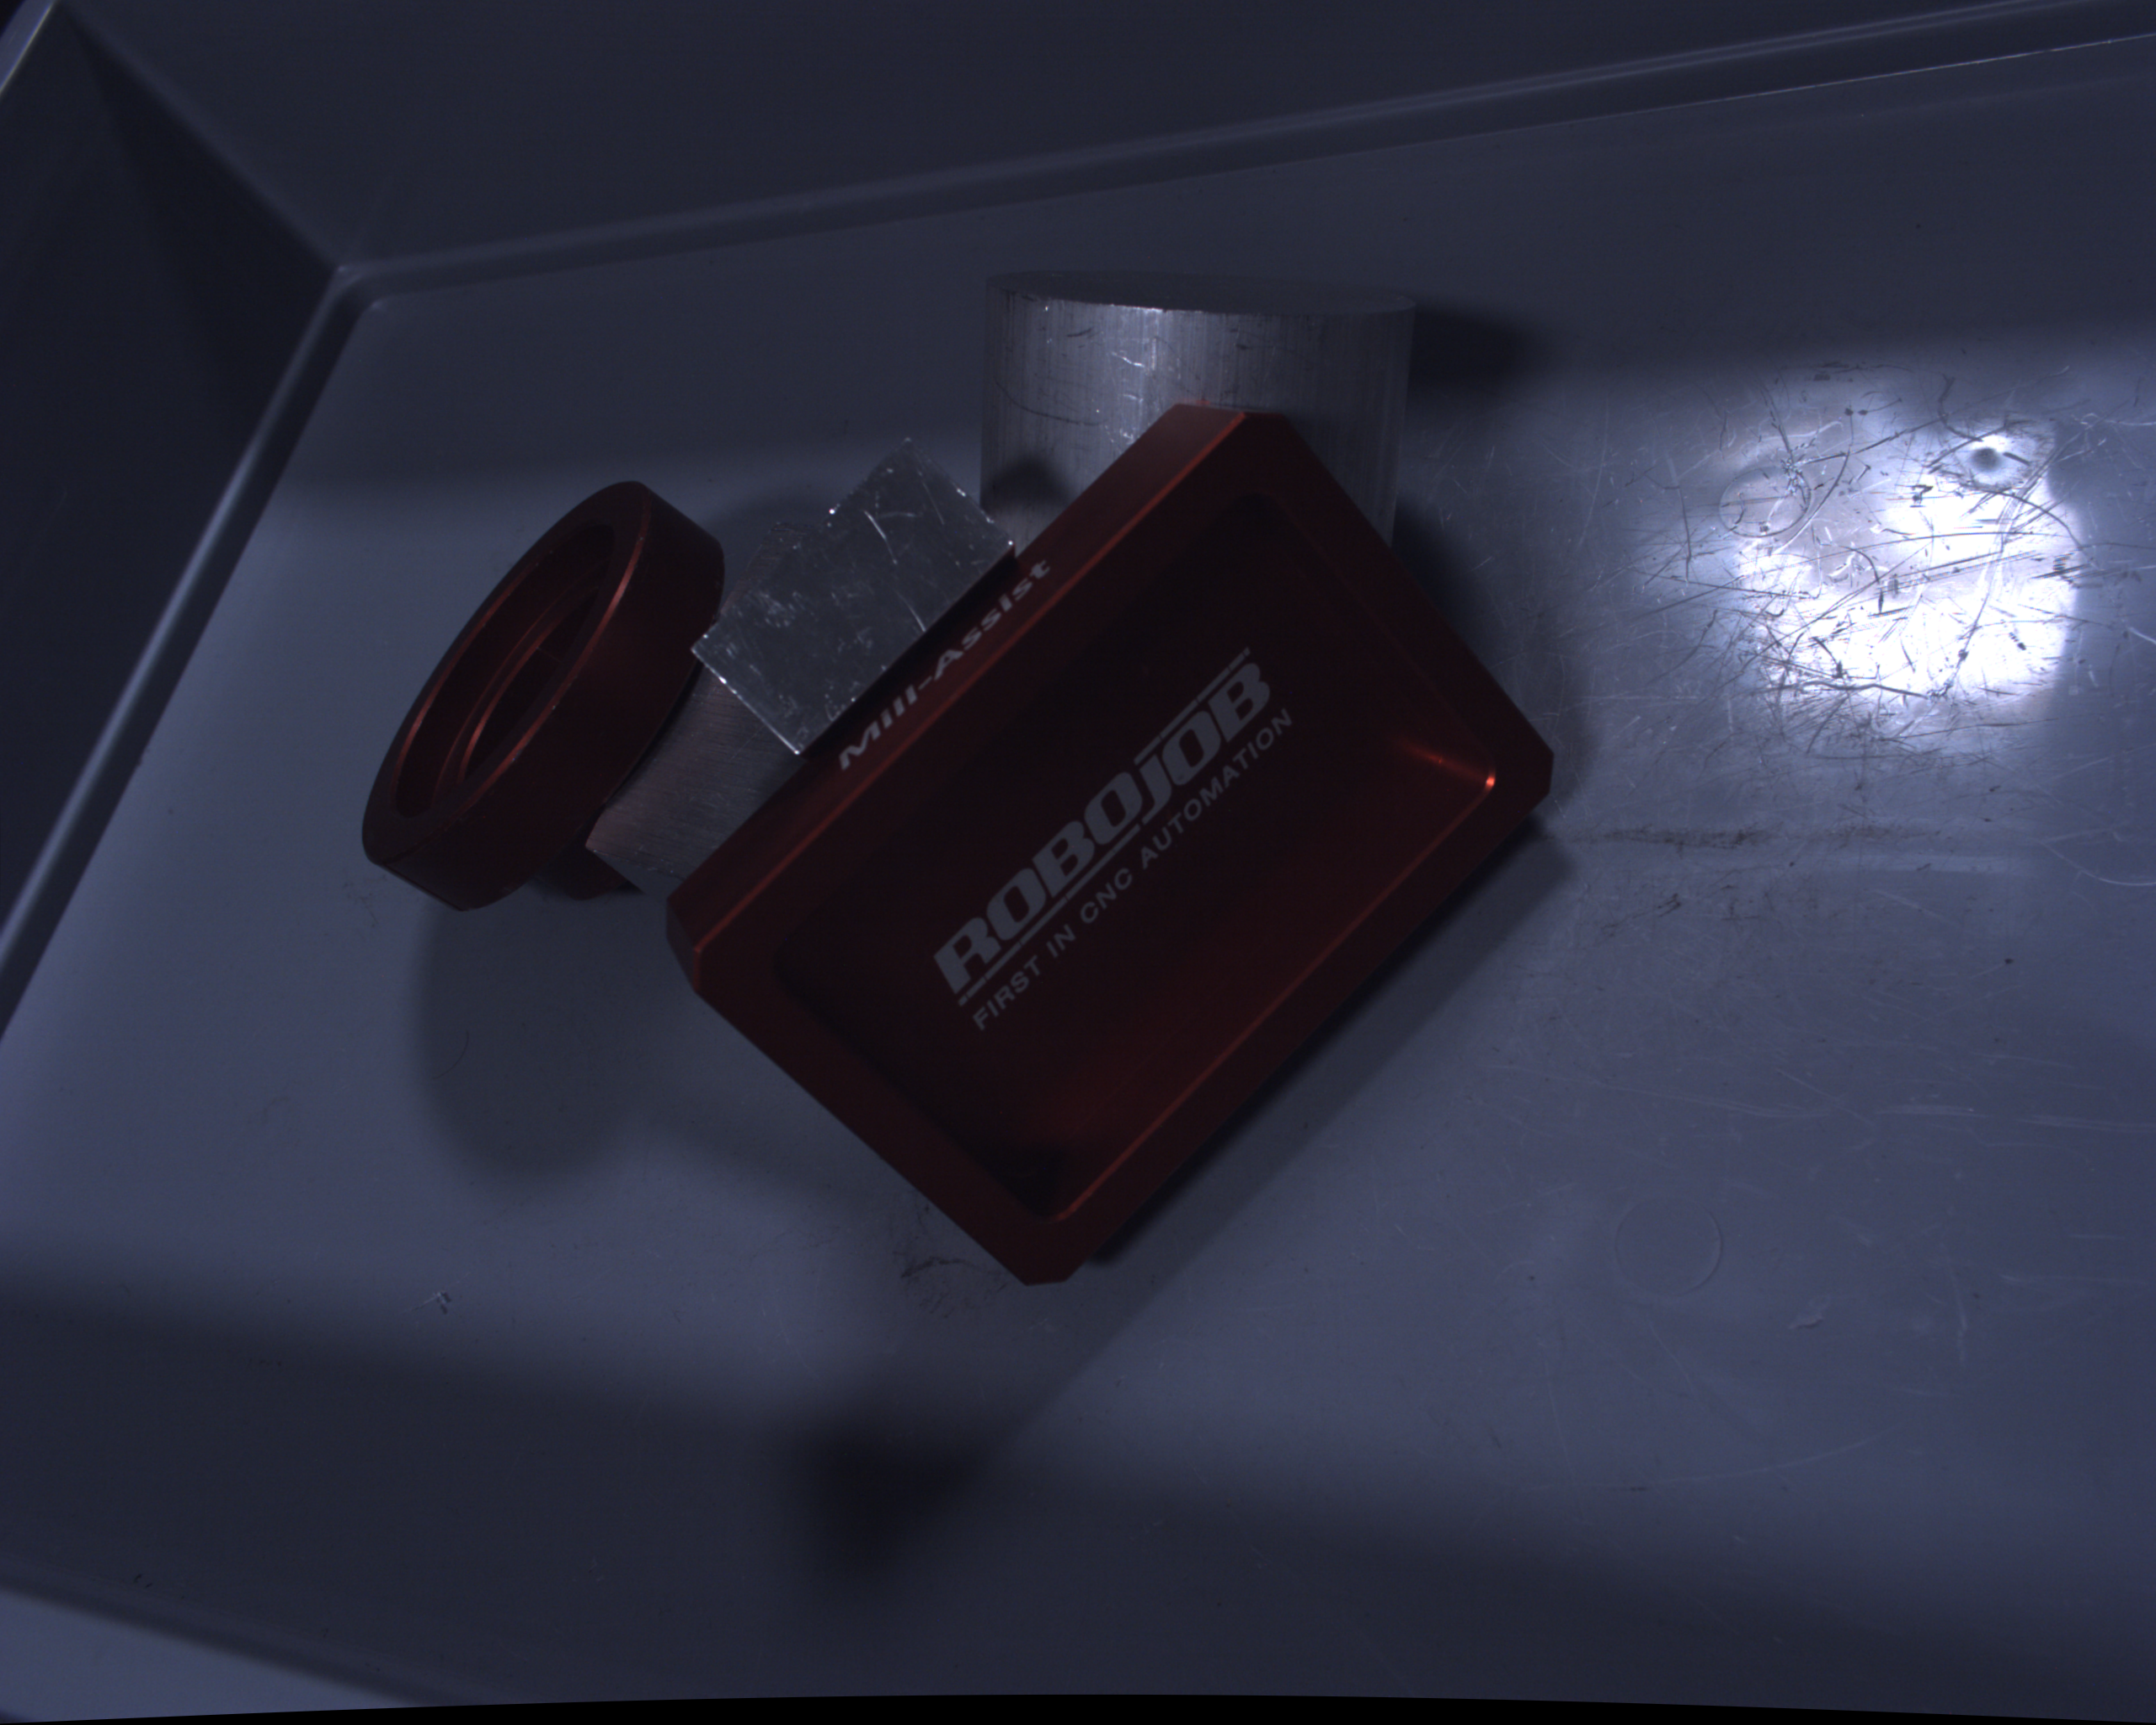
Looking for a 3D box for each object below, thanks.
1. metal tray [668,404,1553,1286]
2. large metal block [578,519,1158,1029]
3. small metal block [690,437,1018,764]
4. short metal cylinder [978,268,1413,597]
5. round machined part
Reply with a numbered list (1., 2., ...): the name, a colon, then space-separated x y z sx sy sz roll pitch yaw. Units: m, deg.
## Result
1. metal tray: 0.007 -0.003 0.357 0.130 0.090 0.030 -45 24 -4
2. large metal block: -0.037 -0.016 0.416 0.080 0.050 0.080 16 70 34
3. small metal block: -0.037 -0.043 0.366 0.050 0.050 0.025 -45 90 -3
4. short metal cylinder: 0.021 -0.085 0.400 0.080 0.081 0.050 17 115 34
5. round machined part: -0.108 -0.031 0.451 0.098 0.042 0.098 -35 35 29
